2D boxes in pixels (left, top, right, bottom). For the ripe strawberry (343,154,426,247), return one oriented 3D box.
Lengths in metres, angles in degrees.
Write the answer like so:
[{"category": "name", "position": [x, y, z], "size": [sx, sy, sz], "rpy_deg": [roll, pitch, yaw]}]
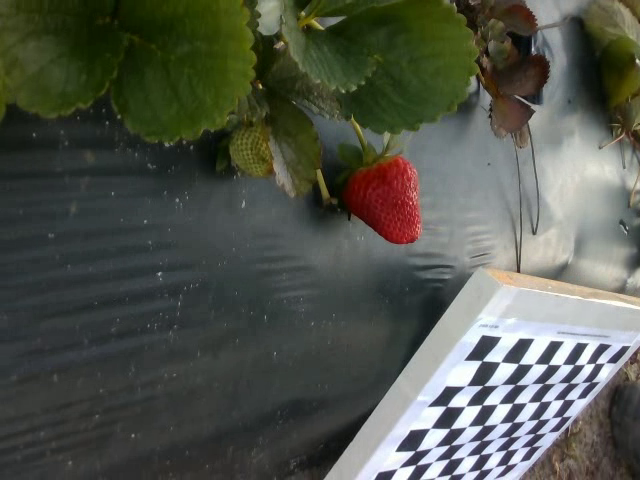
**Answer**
[{"category": "ripe strawberry", "position": [0.037, -0.020, 0.314], "size": [0.045, 0.055, 0.042], "rpy_deg": [-30, -17, -7]}]
